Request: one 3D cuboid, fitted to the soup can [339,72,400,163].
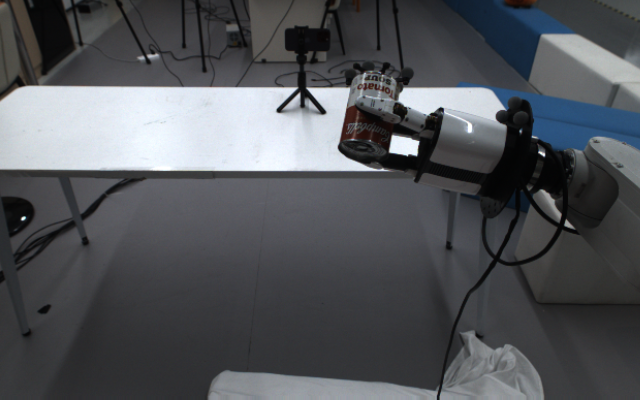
[{"bbox_3d":[0.067,-0.111,0.643,0.067,0.067,0.101,9,74,9],"label":"soup can"}]
